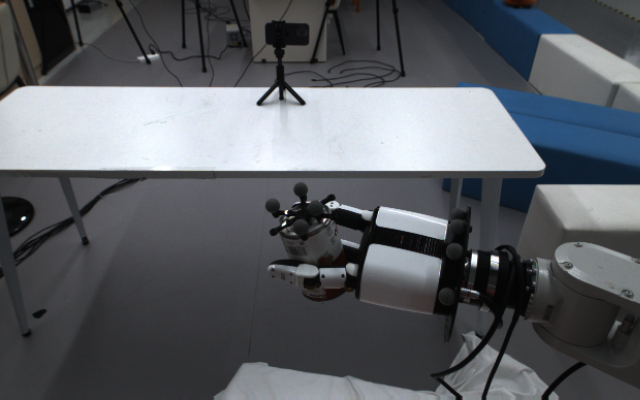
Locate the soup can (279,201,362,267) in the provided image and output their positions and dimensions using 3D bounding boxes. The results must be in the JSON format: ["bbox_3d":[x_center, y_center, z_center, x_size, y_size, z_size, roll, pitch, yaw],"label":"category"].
[{"bbox_3d":[-0.002,0.063,0.584,0.067,0.101,0.067,-13,31,8],"label":"soup can"}]
